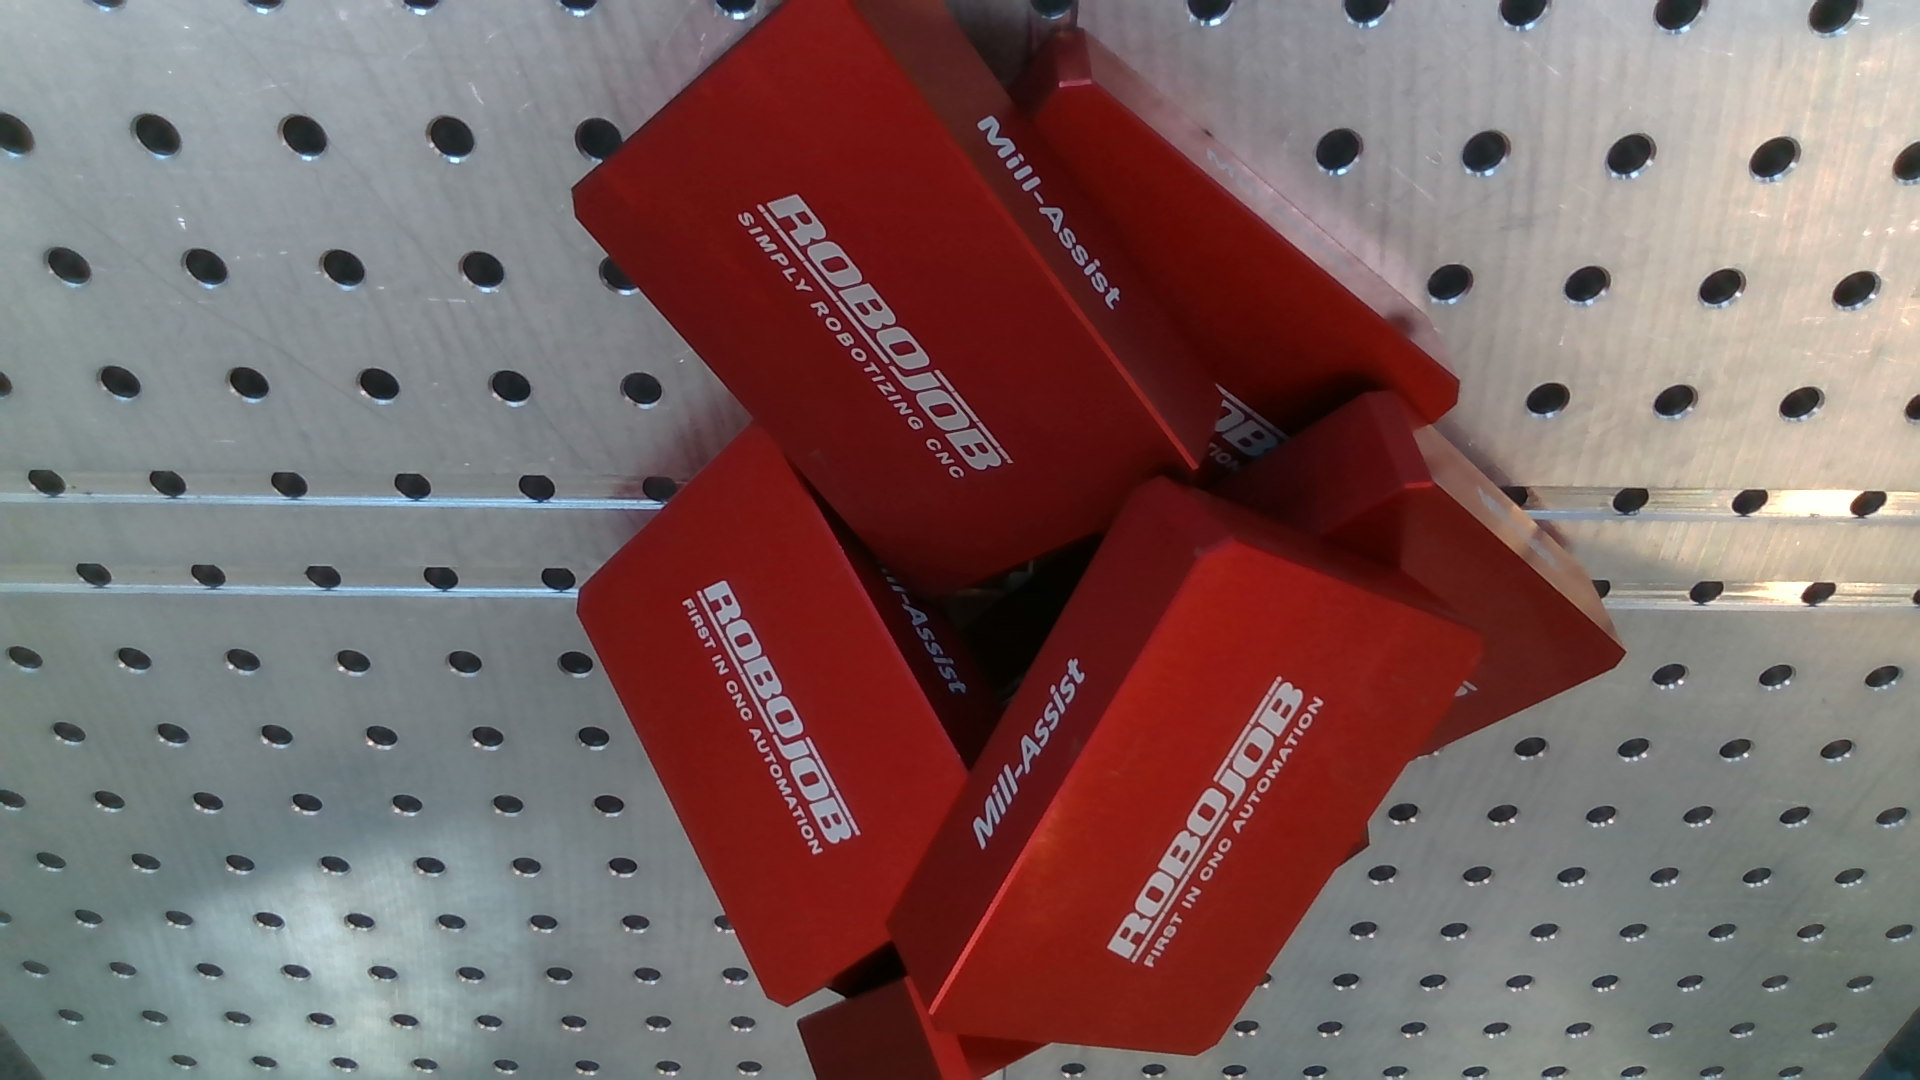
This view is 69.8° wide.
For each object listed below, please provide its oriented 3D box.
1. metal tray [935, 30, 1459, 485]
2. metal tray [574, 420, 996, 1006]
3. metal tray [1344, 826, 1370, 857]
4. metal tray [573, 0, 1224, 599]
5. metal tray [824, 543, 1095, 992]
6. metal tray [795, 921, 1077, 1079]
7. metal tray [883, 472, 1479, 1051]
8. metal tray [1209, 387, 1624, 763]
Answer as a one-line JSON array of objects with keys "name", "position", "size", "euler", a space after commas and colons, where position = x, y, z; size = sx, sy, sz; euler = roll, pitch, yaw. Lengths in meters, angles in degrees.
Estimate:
[{"name": "metal tray", "position": [0.047, -0.050, 0.345], "size": [0.130, 0.030, 0.090], "euler": [31, 123, -24]}, {"name": "metal tray", "position": [-0.043, 0.045, 0.368], "size": [0.090, 0.130, 0.030], "euler": [-39, 162, 29]}, {"name": "metal tray", "position": [0.061, 0.095, 0.439], "size": [0.090, 0.030, 0.130], "euler": [8, 149, -7]}, {"name": "metal tray", "position": [-0.013, -0.053, 0.314], "size": [0.090, 0.030, 0.130], "euler": [-24, 116, 38]}, {"name": "metal tray", "position": [0.006, 0.070, 0.408], "size": [0.030, 0.090, 0.130], "euler": [37, 120, -26]}, {"name": "metal tray", "position": [0.026, 0.127, 0.413], "size": [0.130, 0.030, 0.090], "euler": [-14, 163, -33]}, {"name": "metal tray", "position": [0.051, 0.058, 0.321], "size": [0.090, 0.030, 0.130], "euler": [18, 109, -32]}, {"name": "metal tray", "position": [0.113, 0.020, 0.380], "size": [0.090, 0.030, 0.130], "euler": [-34, 136, 28]}]
